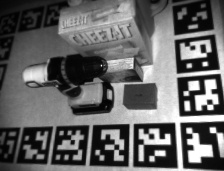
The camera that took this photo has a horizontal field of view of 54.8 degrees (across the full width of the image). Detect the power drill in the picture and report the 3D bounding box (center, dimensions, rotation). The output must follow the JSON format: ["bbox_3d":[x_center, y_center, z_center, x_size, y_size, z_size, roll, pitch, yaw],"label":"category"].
[{"bbox_3d":[-0.087,-0.009,0.492,0.183,0.189,0.057,-6,66,17],"label":"power drill"}]

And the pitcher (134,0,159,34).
[{"bbox_3d":[0.033,-0.216,0.535,0.187,0.245,0.133,1,72,22],"label":"pitcher"}]

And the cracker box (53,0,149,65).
[{"bbox_3d":[-0.013,-0.114,0.521,0.163,0.216,0.072,-8,67,20],"label":"cracker box"}]

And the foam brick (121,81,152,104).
[{"bbox_3d":[0.060,0.016,0.548,0.077,0.052,0.052,-3,73,19],"label":"foam brick"}]

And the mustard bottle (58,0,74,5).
[{"bbox_3d":[-0.089,-0.201,0.584,0.095,0.193,0.058,8,76,23],"label":"mustard bottle"}]

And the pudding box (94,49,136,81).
[{"bbox_3d":[-0.003,-0.050,0.556,0.113,0.091,0.038,-5,68,21],"label":"pudding box"}]
